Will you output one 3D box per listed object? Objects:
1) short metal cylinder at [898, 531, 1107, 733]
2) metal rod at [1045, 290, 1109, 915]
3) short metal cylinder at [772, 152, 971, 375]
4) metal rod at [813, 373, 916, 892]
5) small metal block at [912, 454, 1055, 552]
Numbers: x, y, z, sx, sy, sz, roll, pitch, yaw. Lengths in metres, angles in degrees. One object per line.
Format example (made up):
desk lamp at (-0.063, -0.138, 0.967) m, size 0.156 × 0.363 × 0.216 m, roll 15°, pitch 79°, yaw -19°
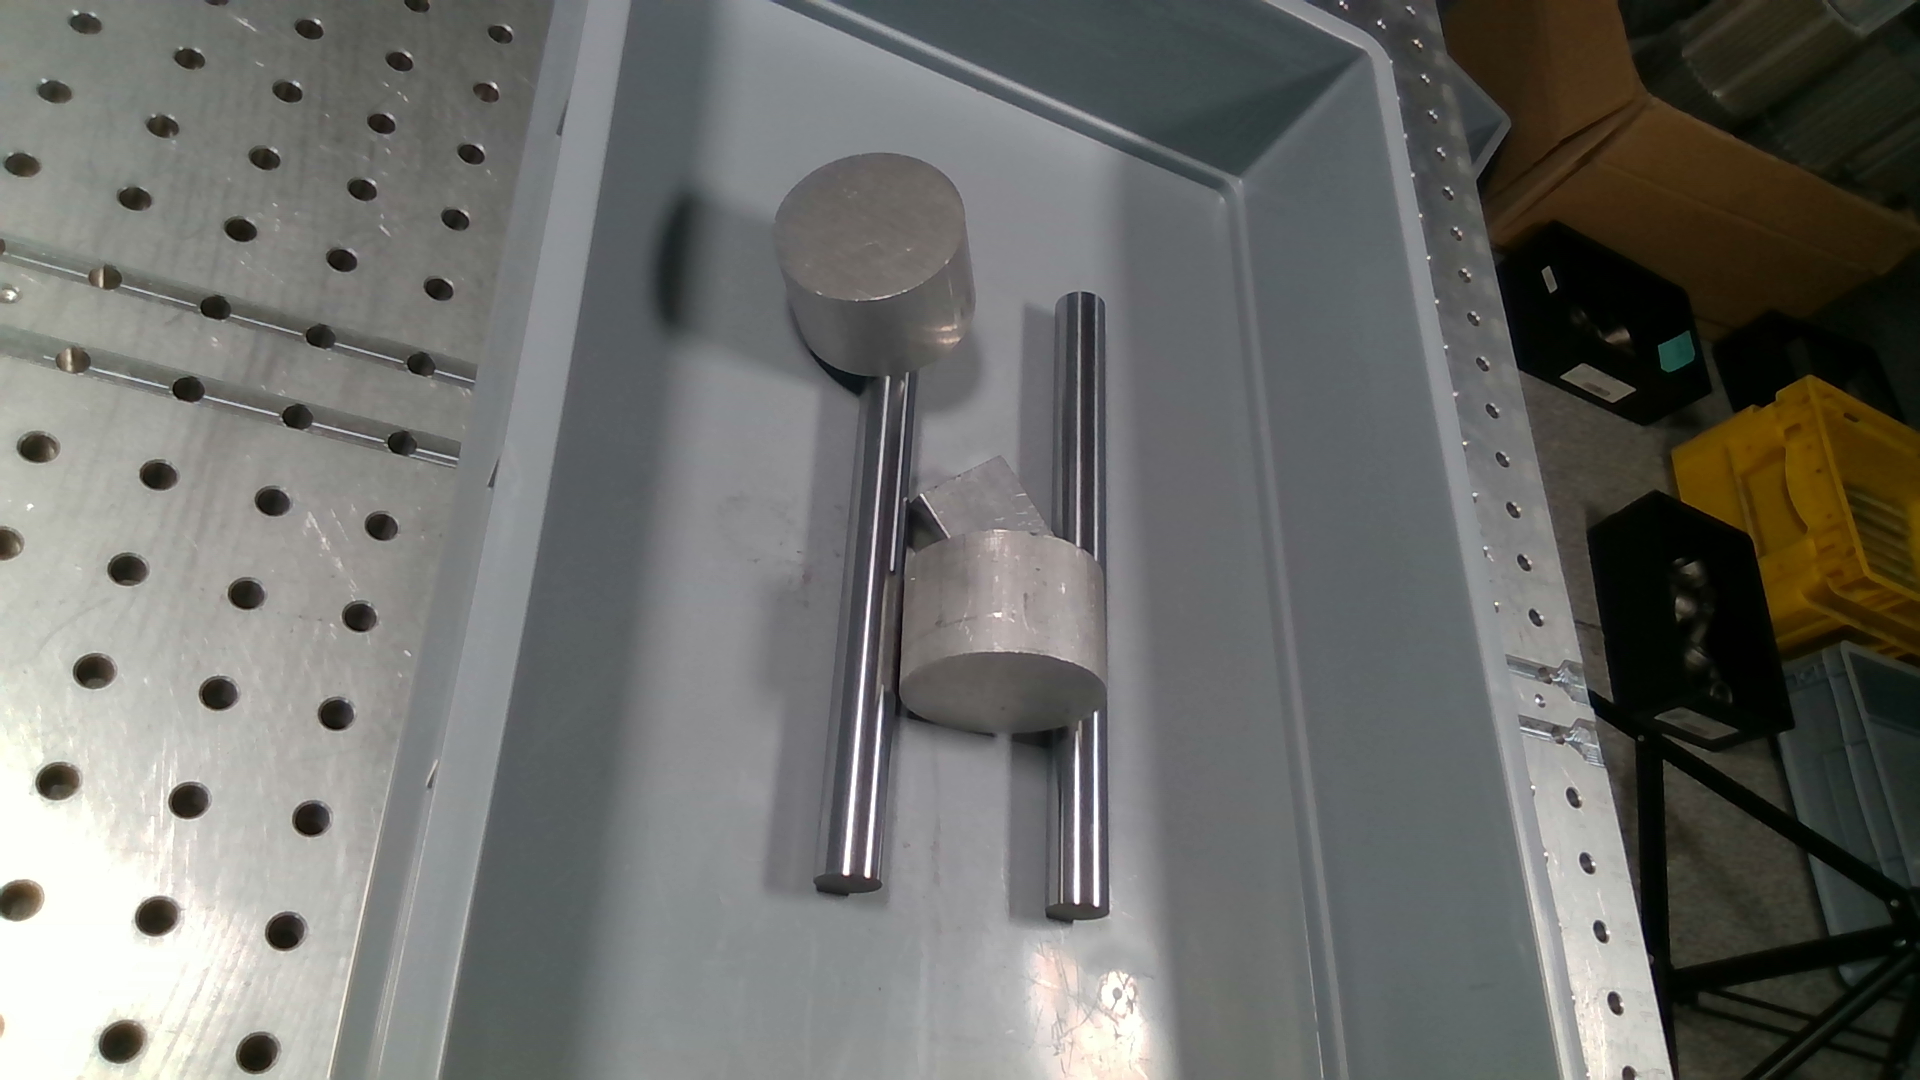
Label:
short metal cylinder at (0.017, 0.038, 0.539) m, size 0.080 × 0.080 × 0.050 m, roll 16°, pitch 58°, yaw -24°
metal rod at (0.053, 0.014, 0.609) m, size 0.025 × 0.025 × 0.299 m, roll 17°, pitch 57°, yaw -23°
short metal cylinder at (-0.035, -0.118, 0.587) m, size 0.080 × 0.050 × 0.080 m, roll -3°, pitch 60°, yaw 5°
metal rod at (-0.034, -0.007, 0.567) m, size 0.025 × 0.025 × 0.299 m, roll 17°, pitch 58°, yaw -23°
small metal block at (0.008, -0.002, 0.591) m, size 0.050 × 0.025 × 0.050 m, roll -28°, pitch 82°, yaw -38°
